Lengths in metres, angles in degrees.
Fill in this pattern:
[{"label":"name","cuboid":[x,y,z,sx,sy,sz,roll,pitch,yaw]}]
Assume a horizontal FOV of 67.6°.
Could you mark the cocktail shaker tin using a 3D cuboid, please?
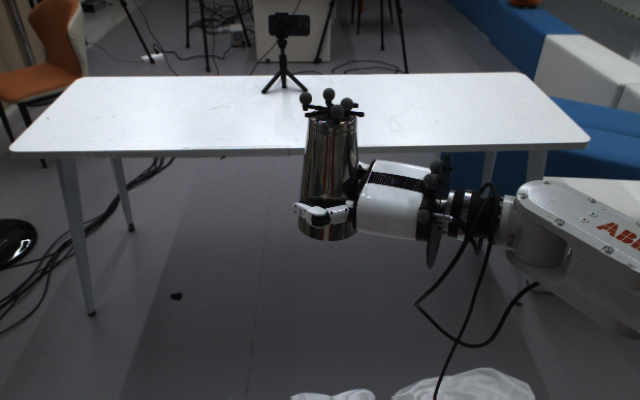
[{"label":"cocktail shaker tin","cuboid":[0.016,-0.039,0.690,0.093,0.170,0.093,1,28,-1]}]
